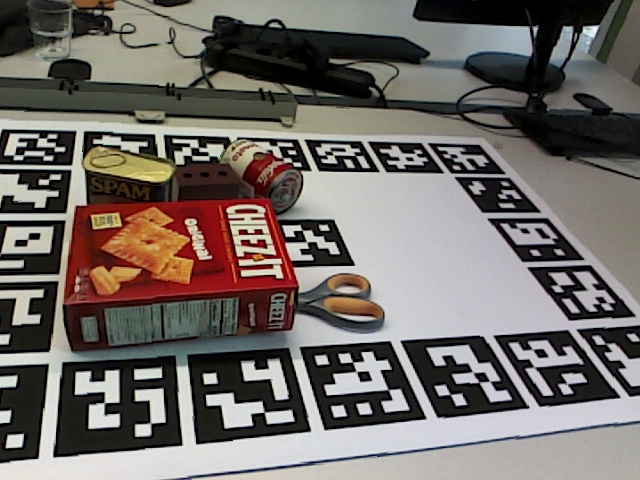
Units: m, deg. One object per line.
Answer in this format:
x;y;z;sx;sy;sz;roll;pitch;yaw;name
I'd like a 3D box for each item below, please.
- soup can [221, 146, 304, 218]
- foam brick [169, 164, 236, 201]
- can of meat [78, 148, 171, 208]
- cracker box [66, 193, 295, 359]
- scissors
-0.082;-0.081;0.852;0.102;0.068;0.067;28;40;28;soup can
-0.154;-0.062;0.810;0.077;0.051;0.053;-8;42;-25;foam brick
-0.235;-0.056;0.747;0.102;0.083;0.058;9;38;-6;can of meat
-0.151;0.027;0.653;0.213;0.072;0.165;-7;40;-18;cracker box
-0.038;0.072;0.677;0.202;0.016;0.088;-4;40;-20;scissors
